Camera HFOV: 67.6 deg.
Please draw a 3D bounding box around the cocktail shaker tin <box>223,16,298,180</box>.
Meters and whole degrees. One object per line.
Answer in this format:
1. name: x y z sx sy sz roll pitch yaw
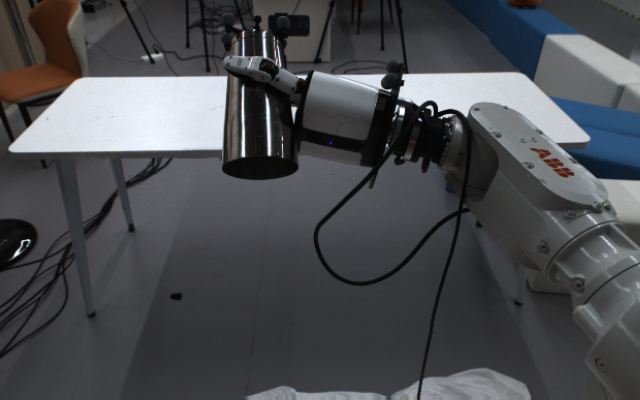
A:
1. cocktail shaker tin: -0.077 -0.119 0.602 0.093 0.093 0.170 -3 76 -7
